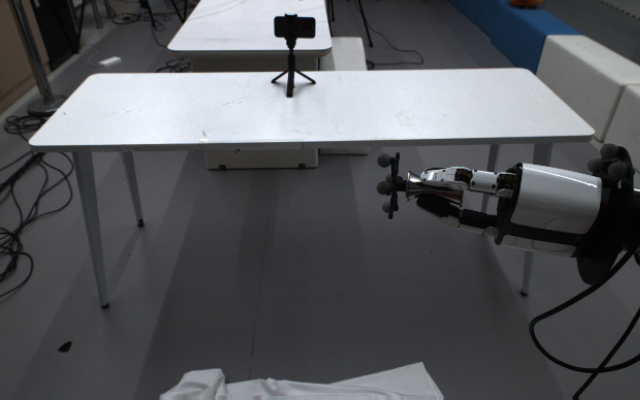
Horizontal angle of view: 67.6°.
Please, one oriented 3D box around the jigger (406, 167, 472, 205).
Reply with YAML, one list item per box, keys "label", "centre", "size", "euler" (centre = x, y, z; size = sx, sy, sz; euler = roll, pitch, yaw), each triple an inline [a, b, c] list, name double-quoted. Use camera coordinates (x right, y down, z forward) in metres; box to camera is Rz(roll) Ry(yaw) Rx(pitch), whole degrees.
- label: "jigger"
  centre: [0.151, -0.019, 0.608]
  size: [0.071, 0.043, 0.043]
  euler: [4, 34, 17]
